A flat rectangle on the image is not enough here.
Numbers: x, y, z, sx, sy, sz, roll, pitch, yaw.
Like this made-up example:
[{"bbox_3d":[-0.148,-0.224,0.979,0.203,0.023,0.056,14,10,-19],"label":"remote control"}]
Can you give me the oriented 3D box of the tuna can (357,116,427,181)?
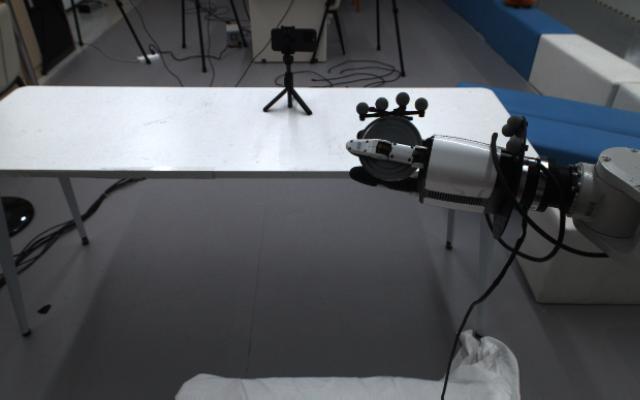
[{"bbox_3d":[0.096,-0.069,0.653,0.085,0.085,0.034,15,1,18],"label":"tuna can"}]
